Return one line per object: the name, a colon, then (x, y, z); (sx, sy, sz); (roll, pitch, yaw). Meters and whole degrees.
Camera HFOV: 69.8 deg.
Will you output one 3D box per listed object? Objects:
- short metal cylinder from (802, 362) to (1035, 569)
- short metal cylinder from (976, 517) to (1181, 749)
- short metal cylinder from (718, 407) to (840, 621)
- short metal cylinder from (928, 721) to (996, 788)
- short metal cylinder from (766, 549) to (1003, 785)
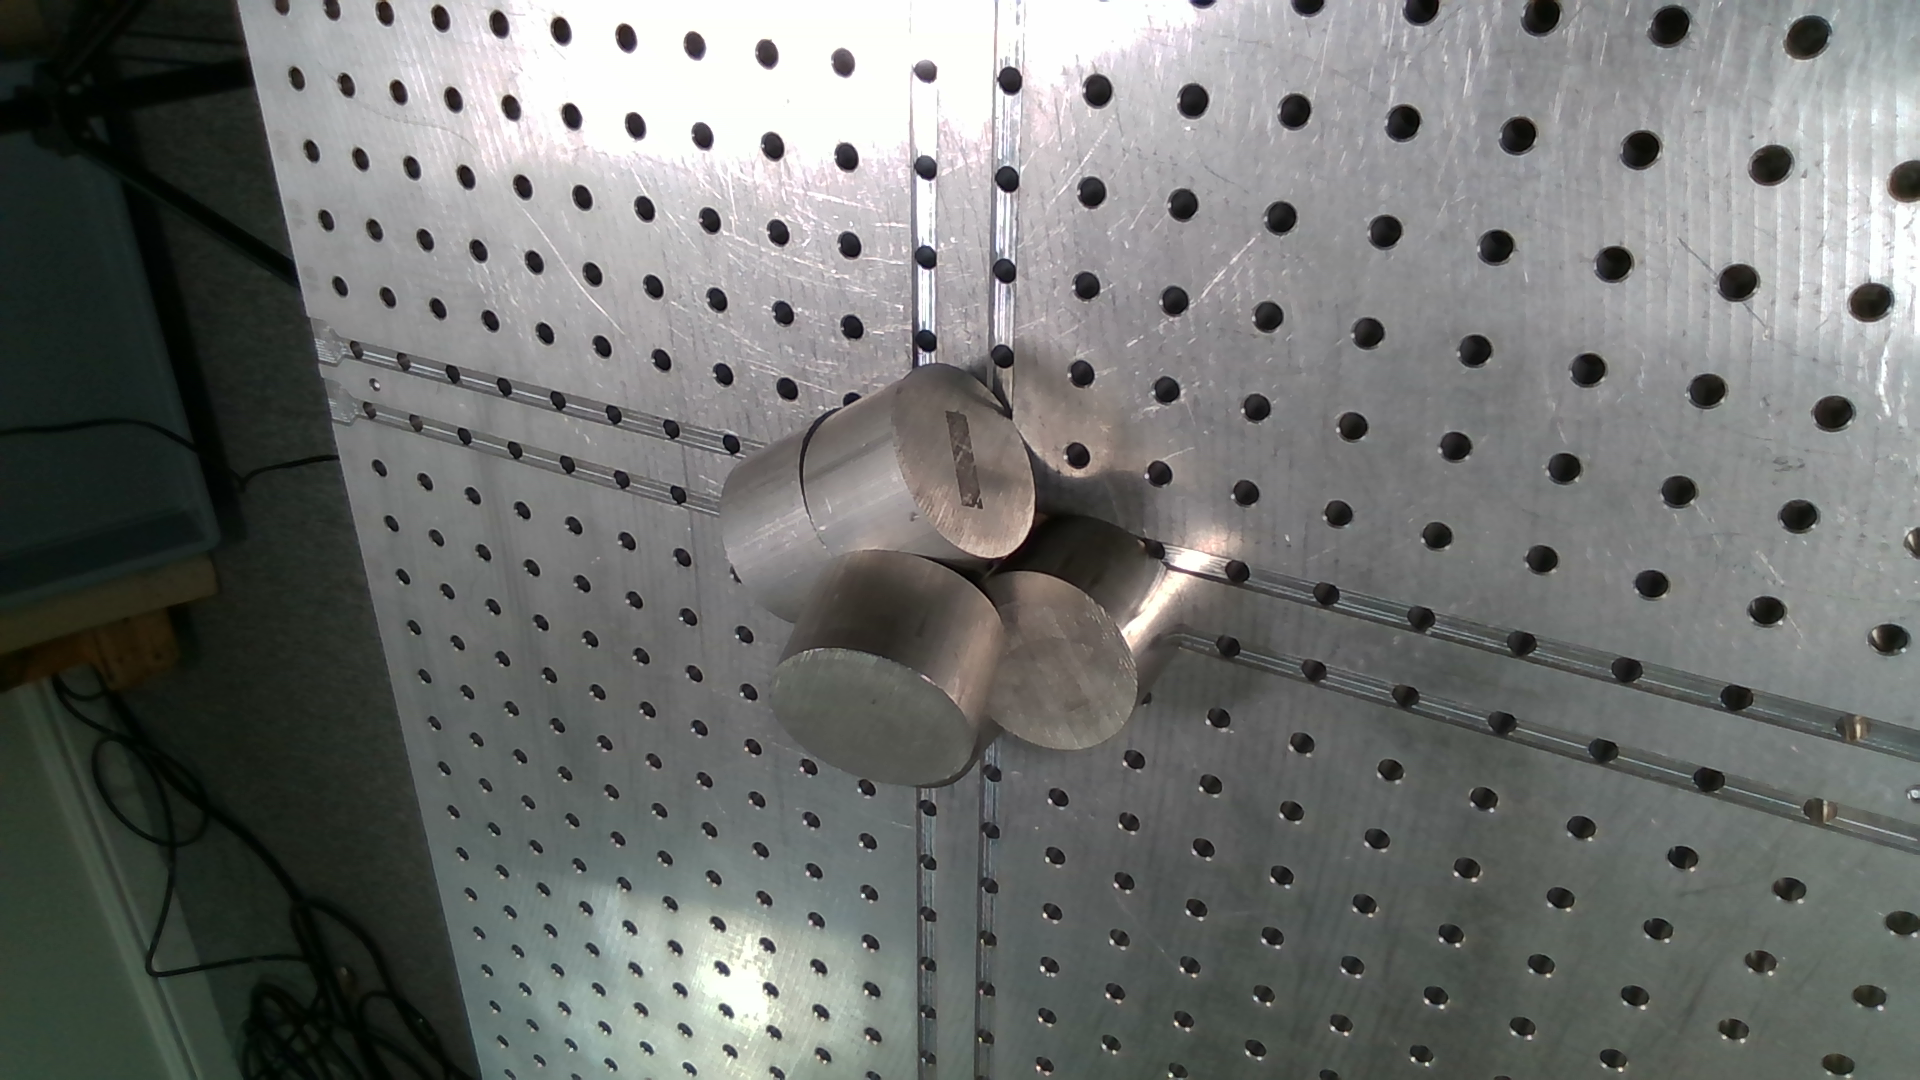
short metal cylinder: (-0.016, -0.024, 0.544); (0.050, 0.080, 0.080); (-23, 102, 38)
short metal cylinder: (0.044, 0.037, 0.559); (0.080, 0.050, 0.080); (14, 122, 25)
short metal cylinder: (-0.053, -0.009, 0.575); (0.050, 0.080, 0.080); (-23, 102, 38)
short metal cylinder: (-0.015, 0.062, 0.609); (0.080, 0.050, 0.080); (14, 122, 25)
short metal cylinder: (-0.028, 0.049, 0.528); (0.080, 0.050, 0.080); (11, 138, 10)
